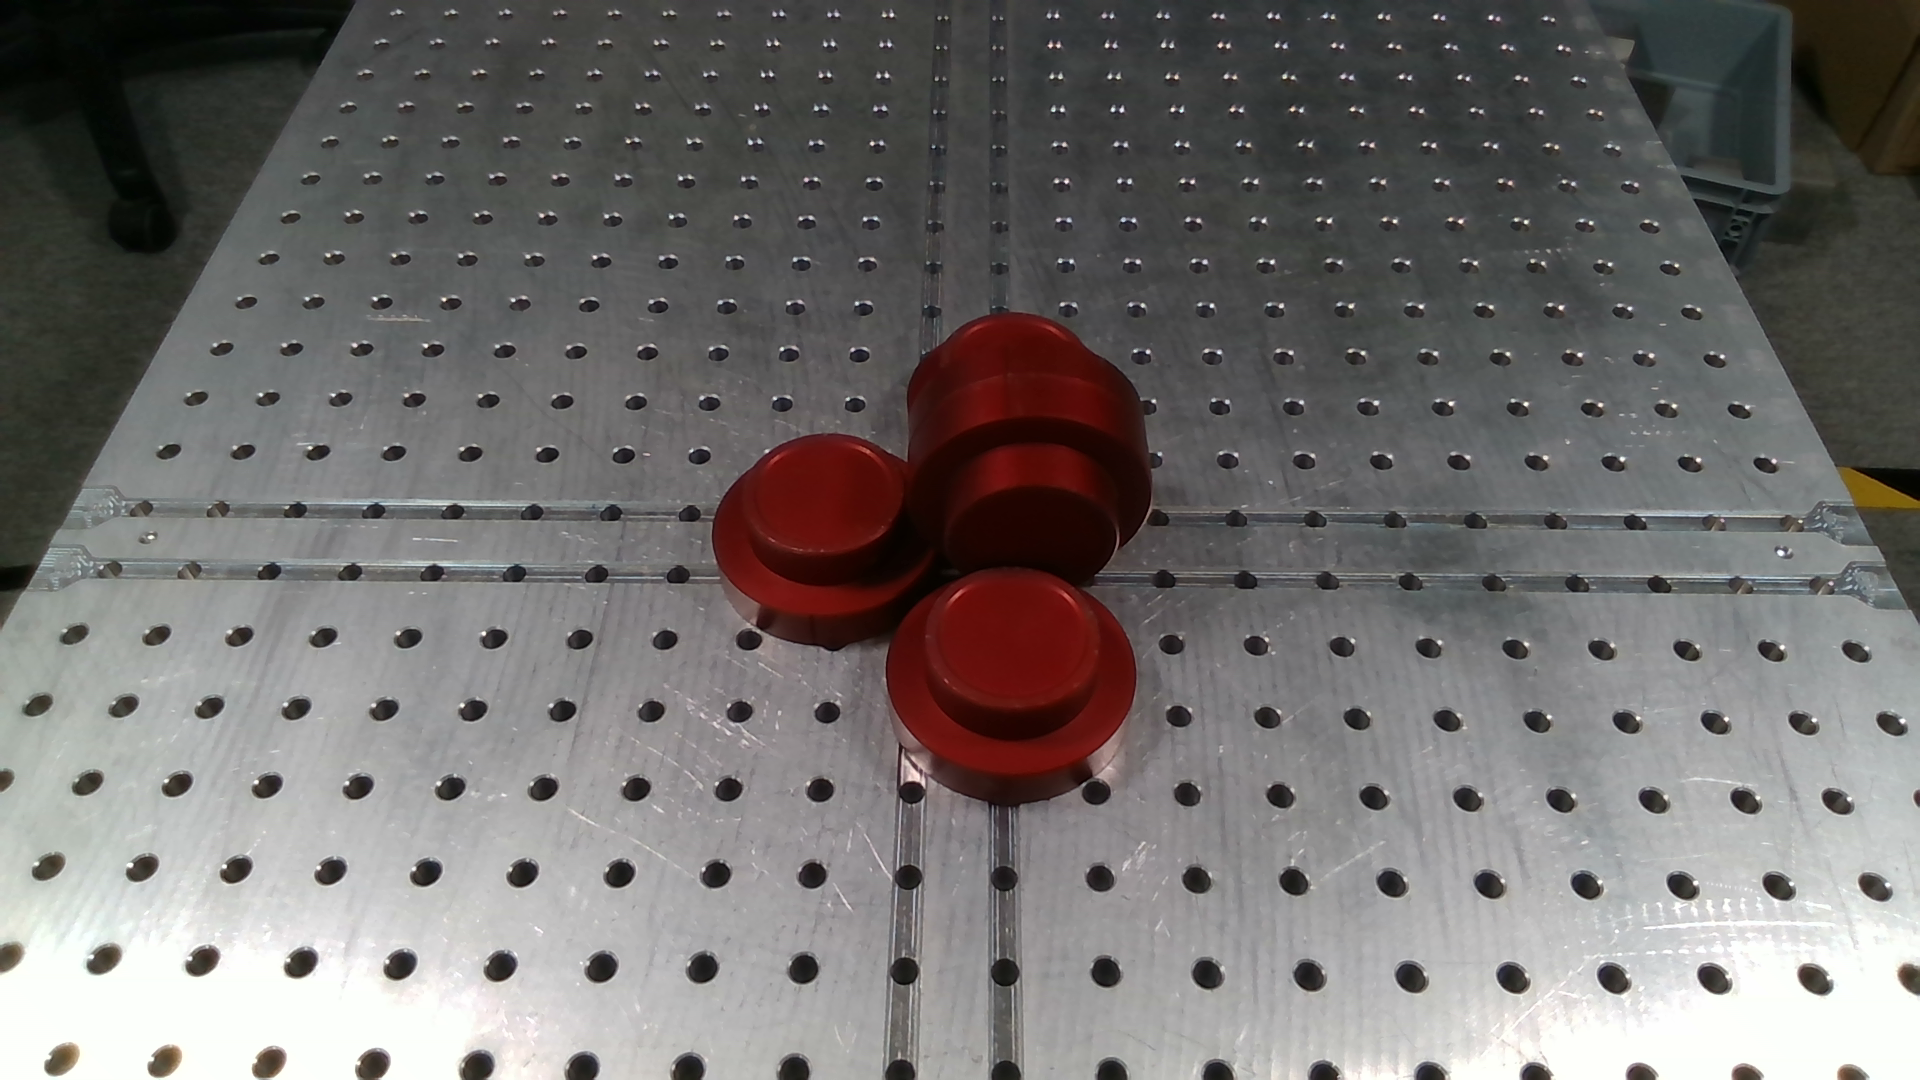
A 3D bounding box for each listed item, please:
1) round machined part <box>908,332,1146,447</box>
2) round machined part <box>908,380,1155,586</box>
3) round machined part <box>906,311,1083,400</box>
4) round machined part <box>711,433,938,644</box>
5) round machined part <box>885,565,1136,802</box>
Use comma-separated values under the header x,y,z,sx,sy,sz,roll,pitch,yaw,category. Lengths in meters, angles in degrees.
x,y,z,sx,sy,sz,roll,pitch,yaw,category
0.028,-0.048,0.574,0.098,0.098,0.042,1,50,1,round machined part
0.028,-0.014,0.547,0.098,0.098,0.042,-1,50,-1,round machined part
0.024,-0.068,0.635,0.098,0.042,0.098,0,50,0,round machined part
-0.057,-0.007,0.585,0.098,0.042,0.098,0,50,0,round machined part
0.020,0.049,0.537,0.098,0.042,0.098,0,50,0,round machined part
